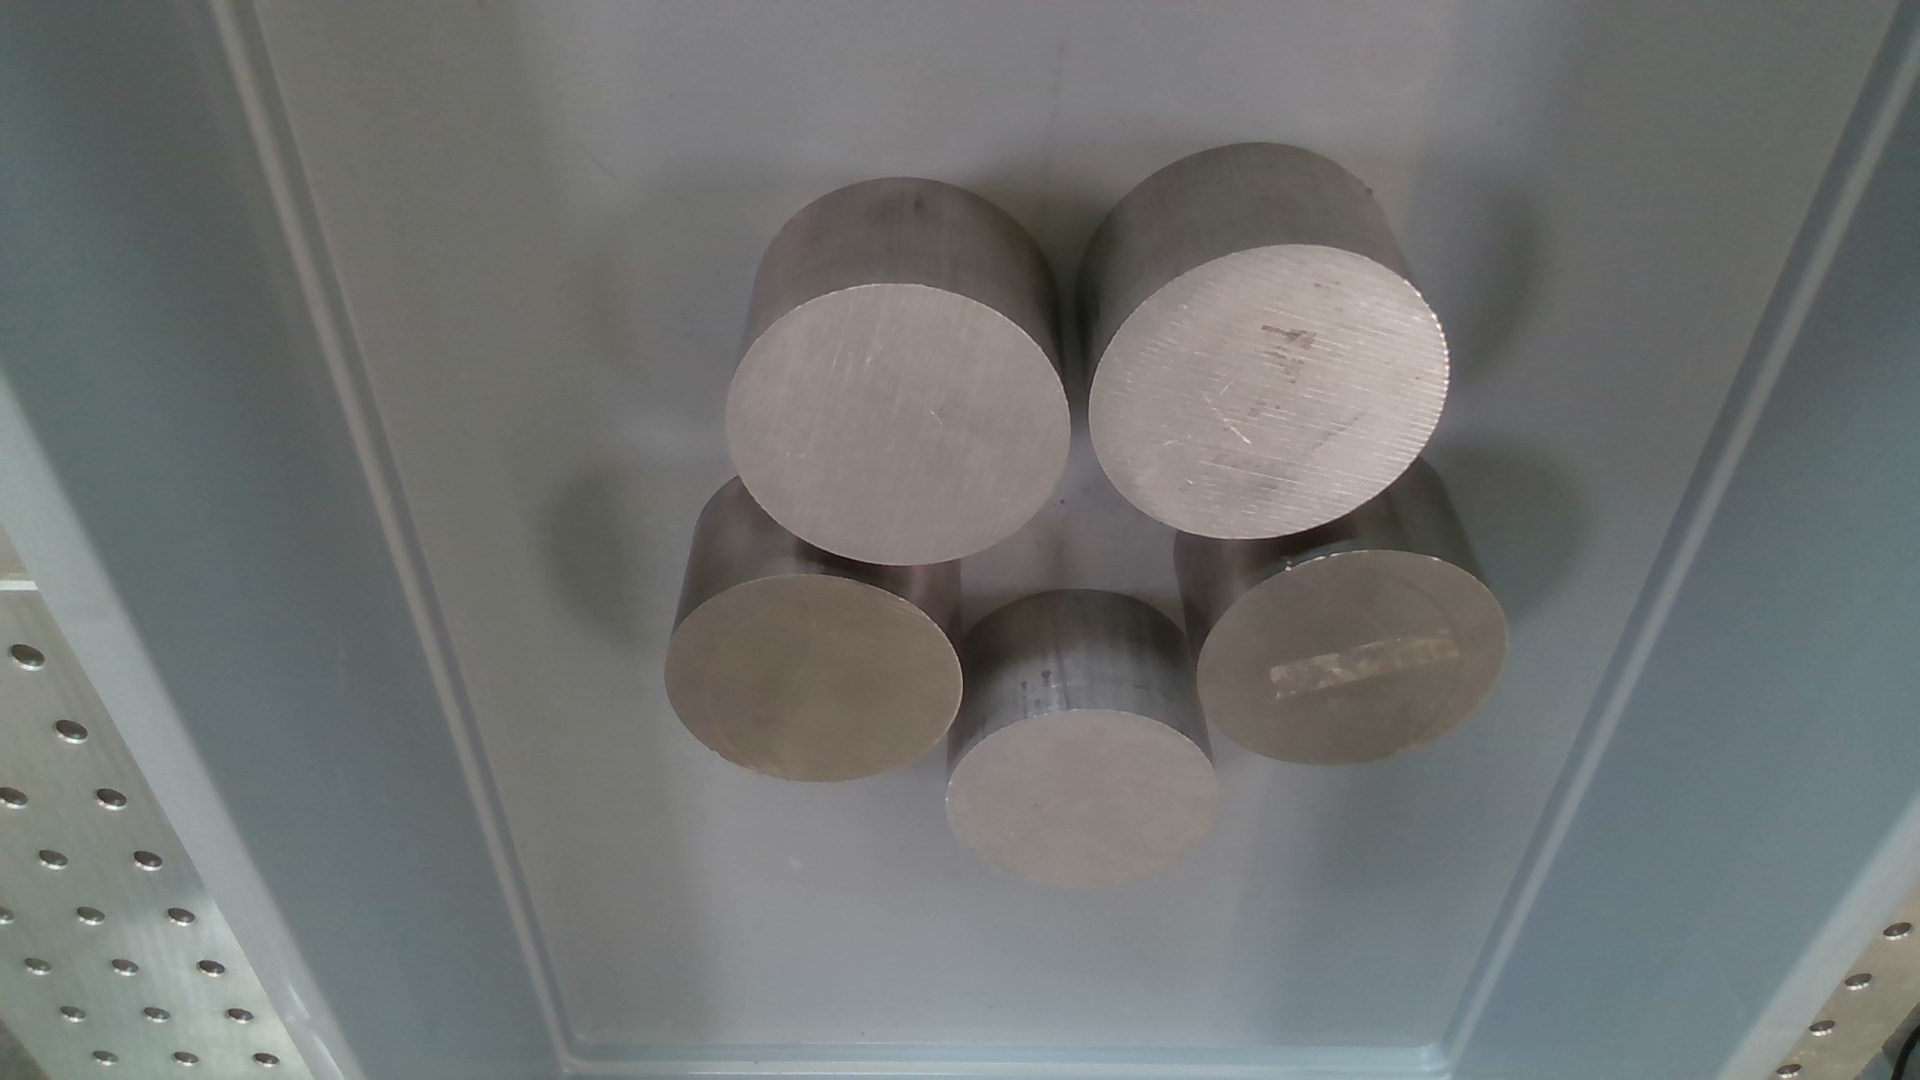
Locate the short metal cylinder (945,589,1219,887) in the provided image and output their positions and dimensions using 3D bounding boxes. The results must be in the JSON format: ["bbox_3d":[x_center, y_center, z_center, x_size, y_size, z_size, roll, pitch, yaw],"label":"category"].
[{"bbox_3d":[0.036,0.061,0.422,0.080,0.050,0.080,0,130,0],"label":"short metal cylinder"}]

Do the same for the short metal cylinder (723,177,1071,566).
[{"bbox_3d":[-0.014,-0.040,0.337,0.080,0.050,0.080,0,130,0],"label":"short metal cylinder"}]

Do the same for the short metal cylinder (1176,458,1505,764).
[{"bbox_3d":[0.104,0.017,0.385,0.080,0.050,0.080,0,130,0],"label":"short metal cylinder"}]

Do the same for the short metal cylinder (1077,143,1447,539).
[{"bbox_3d":[0.069,-0.047,0.331,0.080,0.050,0.080,0,130,0],"label":"short metal cylinder"}]

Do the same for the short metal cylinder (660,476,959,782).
[{"bbox_3d":[-0.040,0.023,0.390,0.080,0.050,0.080,0,130,0],"label":"short metal cylinder"}]
